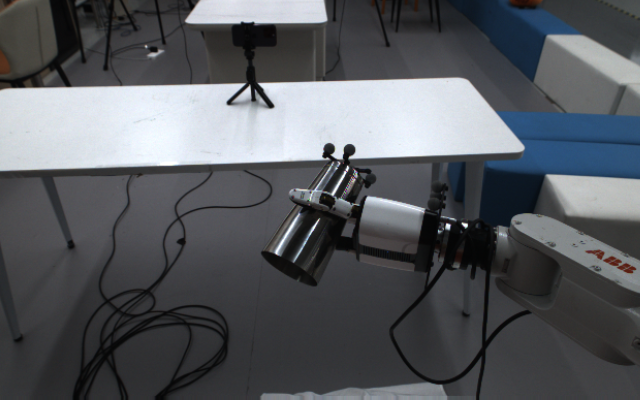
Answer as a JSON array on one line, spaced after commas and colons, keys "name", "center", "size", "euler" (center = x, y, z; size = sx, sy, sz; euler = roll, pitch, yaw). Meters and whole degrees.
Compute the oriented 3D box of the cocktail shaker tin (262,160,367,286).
[{"name": "cocktail shaker tin", "center": [-0.001, 0.025, 0.704], "size": [0.093, 0.093, 0.170], "euler": [20, 67, 24]}]
